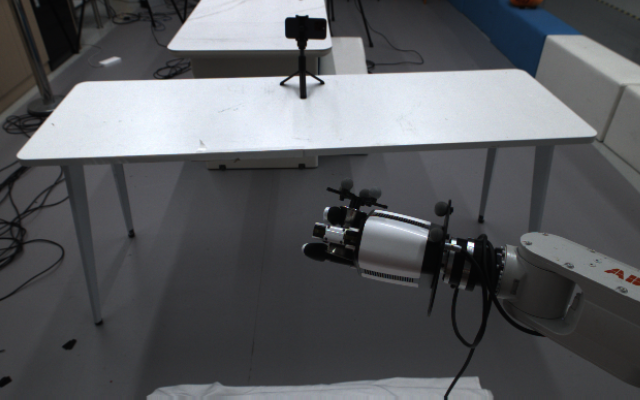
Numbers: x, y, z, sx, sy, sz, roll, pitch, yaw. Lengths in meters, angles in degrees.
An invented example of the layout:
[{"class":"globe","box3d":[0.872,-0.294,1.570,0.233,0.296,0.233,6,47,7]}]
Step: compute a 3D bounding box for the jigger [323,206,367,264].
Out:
[{"class":"jigger","box3d":[0.037,0.045,0.674,0.043,0.071,0.043,19,-6,2]}]
